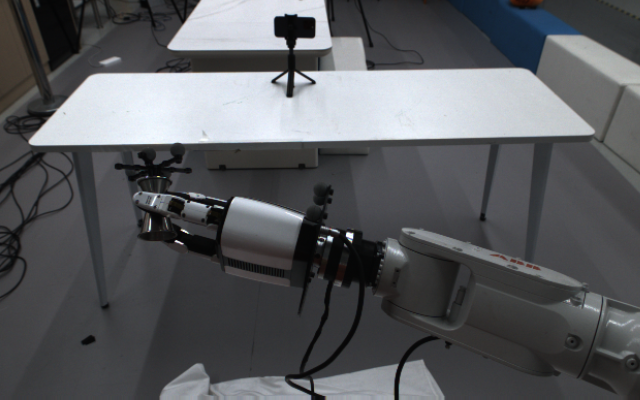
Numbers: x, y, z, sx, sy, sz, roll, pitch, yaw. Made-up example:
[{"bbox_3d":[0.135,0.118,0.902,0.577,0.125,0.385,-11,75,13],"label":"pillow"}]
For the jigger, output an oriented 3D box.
[{"bbox_3d":[-0.192,0.011,0.572,0.043,0.043,0.071,-6,73,-11],"label":"jigger"}]
